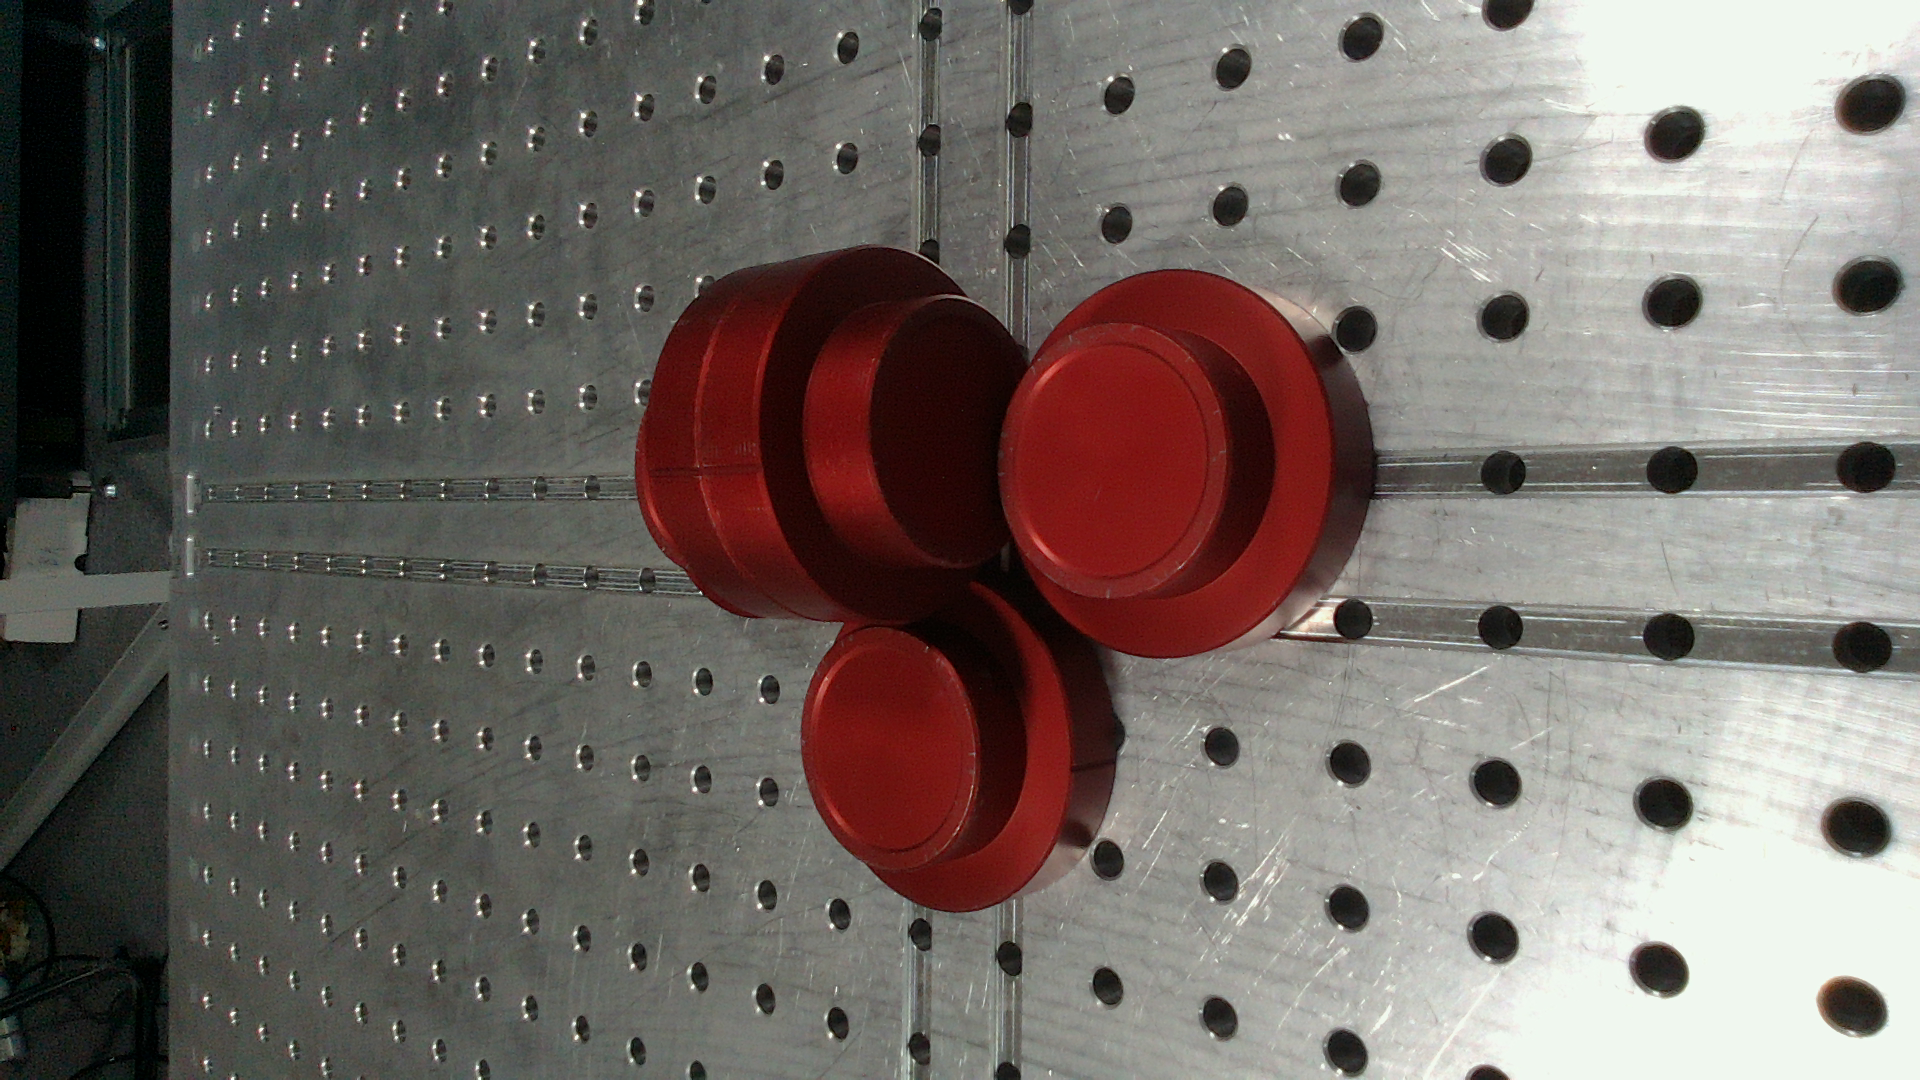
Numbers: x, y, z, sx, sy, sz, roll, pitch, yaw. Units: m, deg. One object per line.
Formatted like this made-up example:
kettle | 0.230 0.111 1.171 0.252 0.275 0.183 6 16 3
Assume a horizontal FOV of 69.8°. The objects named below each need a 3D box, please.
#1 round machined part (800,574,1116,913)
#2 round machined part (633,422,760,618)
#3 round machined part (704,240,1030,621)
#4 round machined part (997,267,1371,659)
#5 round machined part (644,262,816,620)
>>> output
round machined part | -0.008 0.057 0.393 0.098 0.042 0.098 0 90 40
round machined part | -0.068 -0.024 0.444 0.098 0.042 0.098 0 90 40
round machined part | -0.015 -0.028 0.355 0.042 0.098 0.098 -1 89 40
round machined part | 0.048 -0.019 0.345 0.098 0.042 0.098 0 90 40
round machined part | -0.048 -0.027 0.382 0.042 0.098 0.098 2 91 40
